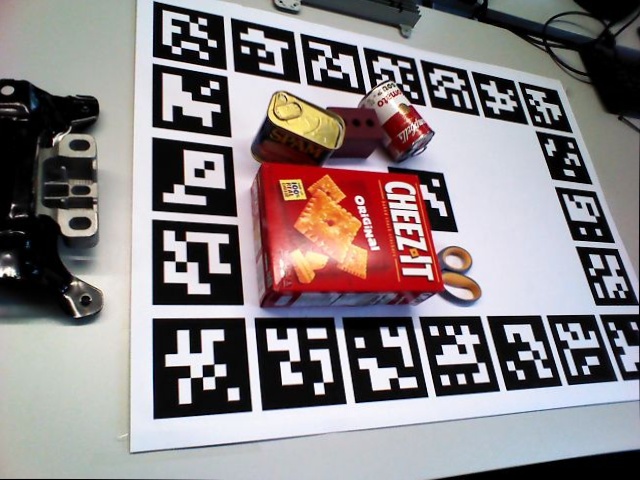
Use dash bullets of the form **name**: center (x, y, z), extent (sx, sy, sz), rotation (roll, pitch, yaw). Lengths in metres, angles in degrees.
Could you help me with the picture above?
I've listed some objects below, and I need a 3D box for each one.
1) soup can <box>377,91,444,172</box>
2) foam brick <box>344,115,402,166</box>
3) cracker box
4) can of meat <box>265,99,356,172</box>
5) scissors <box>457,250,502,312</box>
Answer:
- **soup can**: center (0.137, -0.161, 0.765), extent (0.102, 0.068, 0.067), rotation (47, 58, 7)
- **foam brick**: center (0.065, -0.139, 0.724), extent (0.078, 0.052, 0.052), rotation (-8, 72, -27)
- **cracker box**: center (0.055, 0.009, 0.624), extent (0.213, 0.072, 0.163), rotation (-4, 69, -22)
- **can of meat**: center (-0.012, -0.121, 0.659), extent (0.102, 0.084, 0.057), rotation (16, 63, -18)
- **scissors**: center (0.152, 0.058, 0.683), extent (0.202, 0.016, 0.087), rotation (-2, 70, -25)
